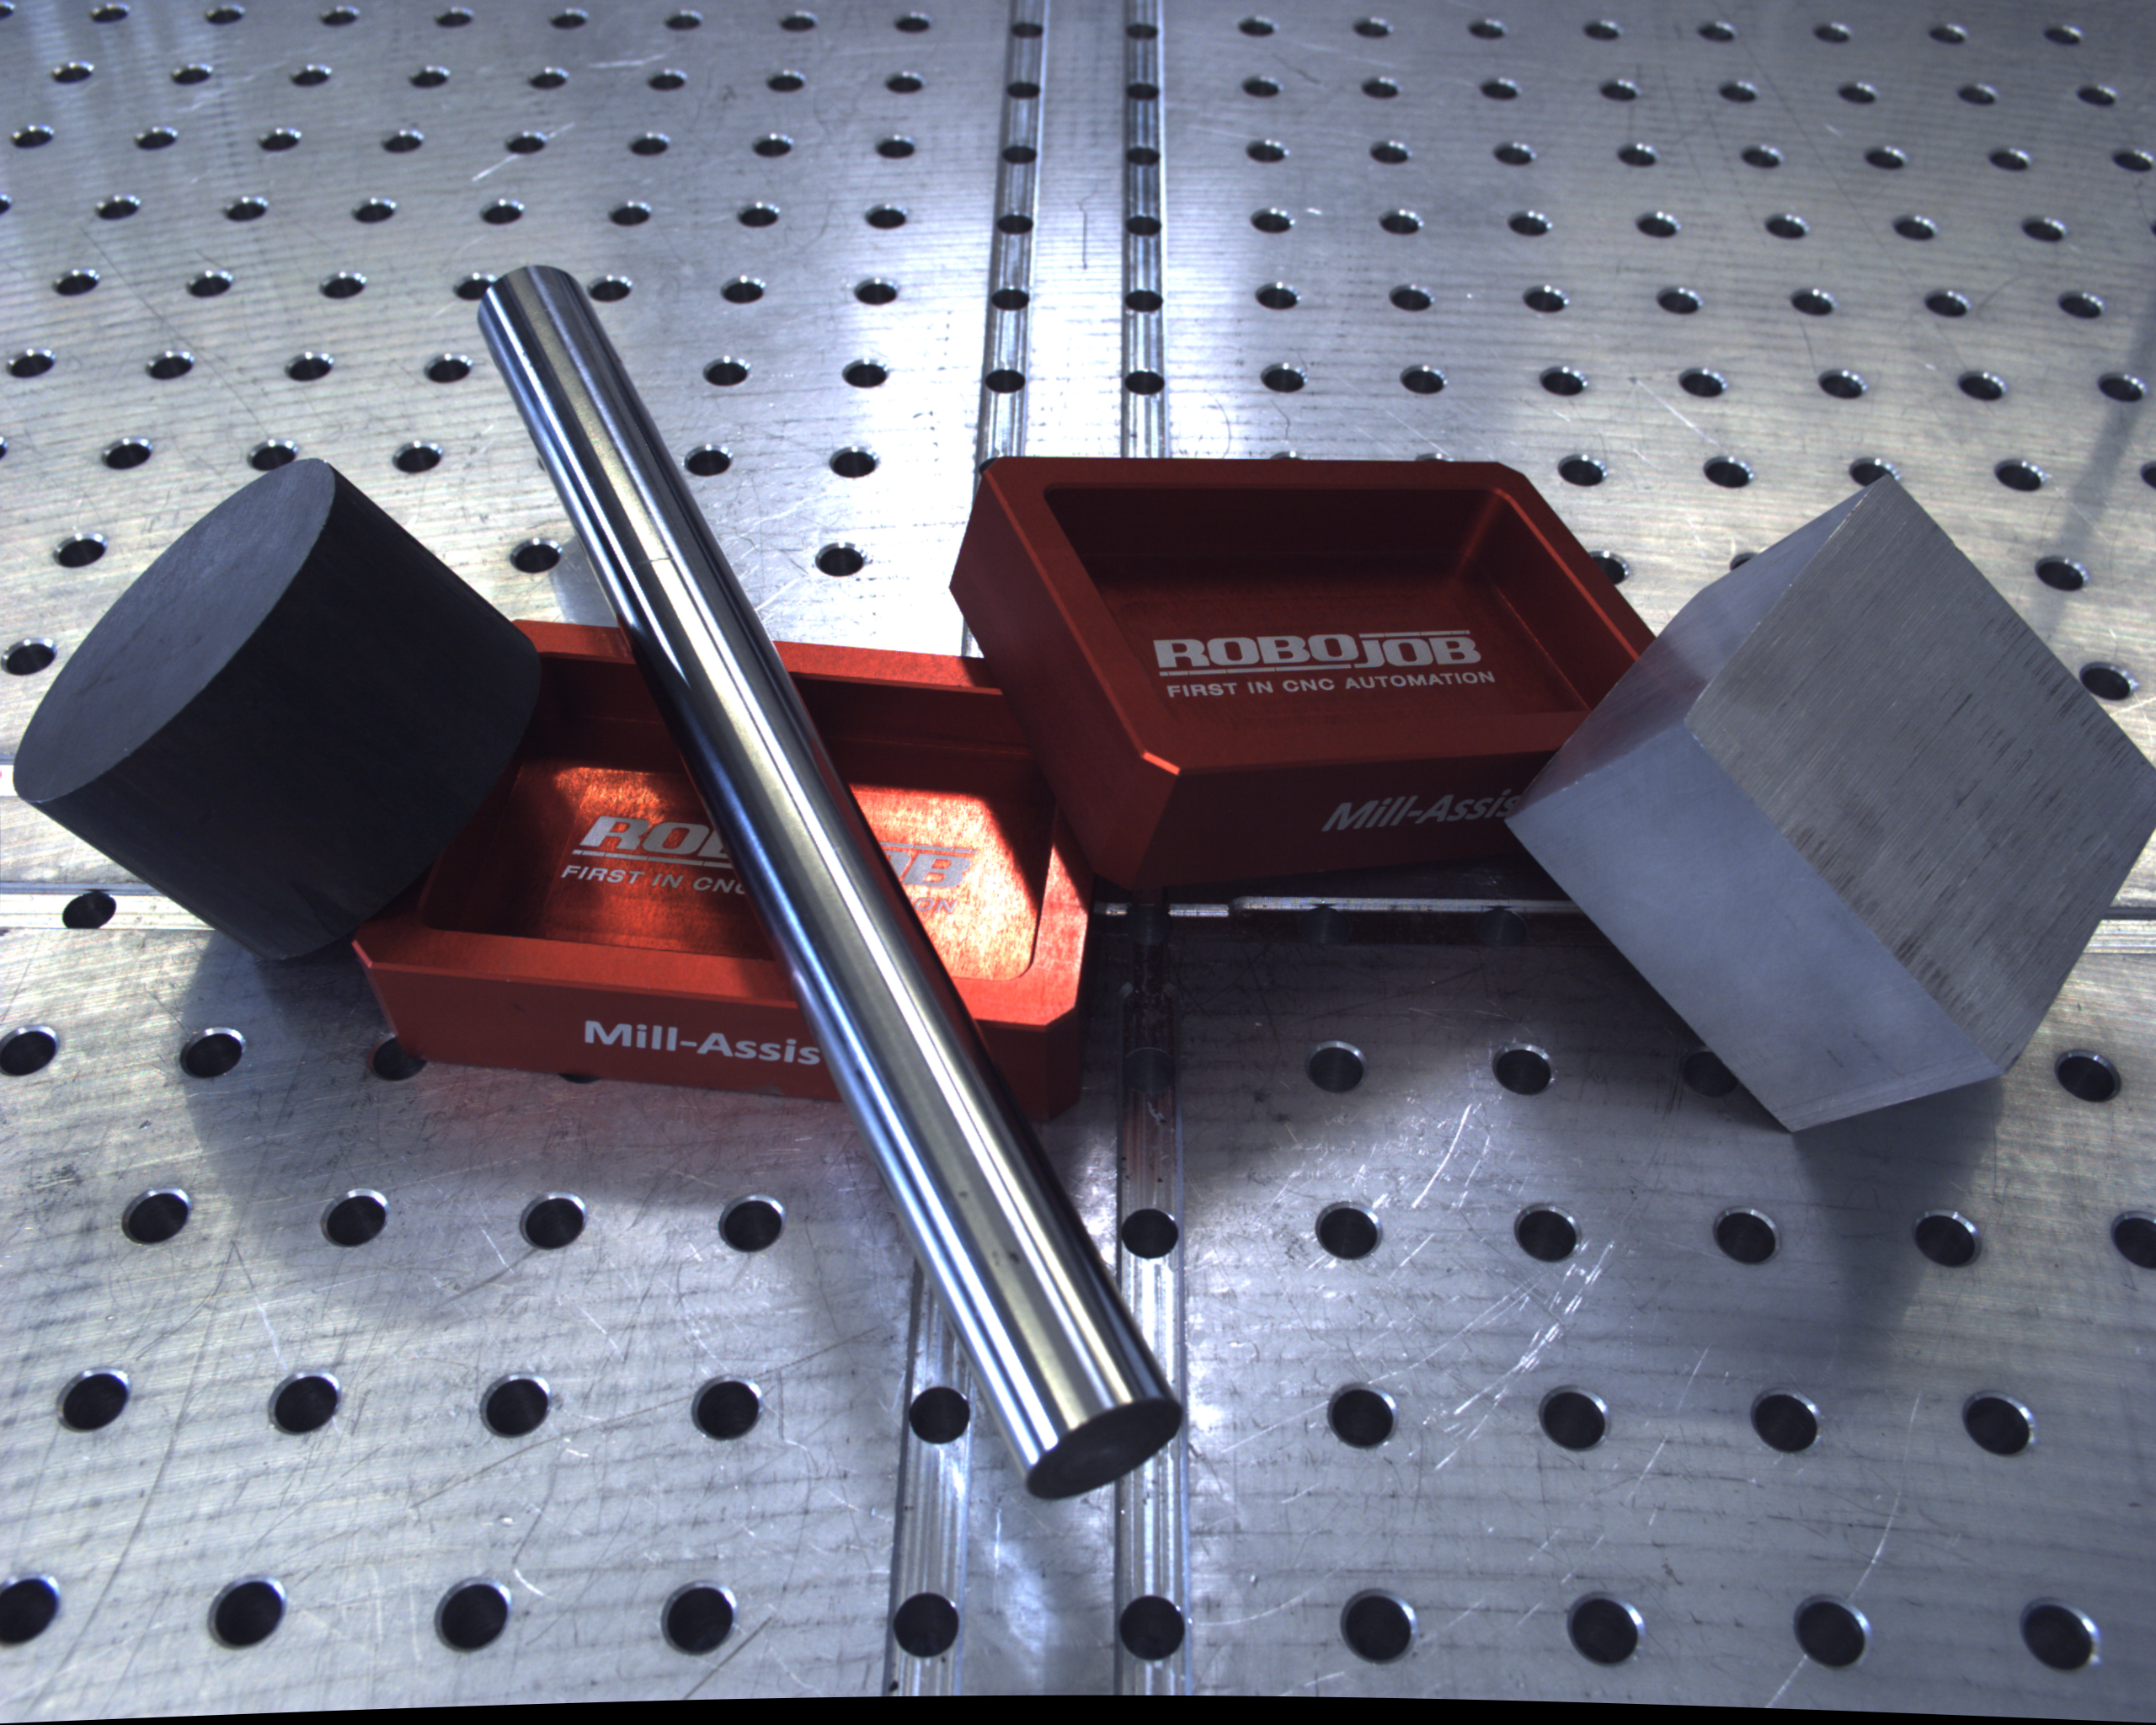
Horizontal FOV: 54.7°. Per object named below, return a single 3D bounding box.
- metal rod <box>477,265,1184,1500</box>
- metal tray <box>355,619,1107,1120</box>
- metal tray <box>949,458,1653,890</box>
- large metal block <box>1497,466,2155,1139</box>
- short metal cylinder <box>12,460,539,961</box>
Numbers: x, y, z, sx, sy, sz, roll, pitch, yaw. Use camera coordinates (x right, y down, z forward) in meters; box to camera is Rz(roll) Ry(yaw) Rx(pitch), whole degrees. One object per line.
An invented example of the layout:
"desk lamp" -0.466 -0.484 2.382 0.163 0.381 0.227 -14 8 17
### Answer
"metal rod" -0.060 -0.020 0.385 0.025 0.025 0.300 -20 53 -16
"metal tray" -0.059 -0.001 0.404 0.131 0.030 0.090 5 50 4
"metal tray" 0.051 -0.042 0.415 0.131 0.030 0.090 -5 48 -26
"large metal block" 0.138 -0.010 0.378 0.080 0.050 0.080 47 60 -3
"short metal cylinder" -0.149 -0.029 0.391 0.080 0.050 0.080 -25 40 24
